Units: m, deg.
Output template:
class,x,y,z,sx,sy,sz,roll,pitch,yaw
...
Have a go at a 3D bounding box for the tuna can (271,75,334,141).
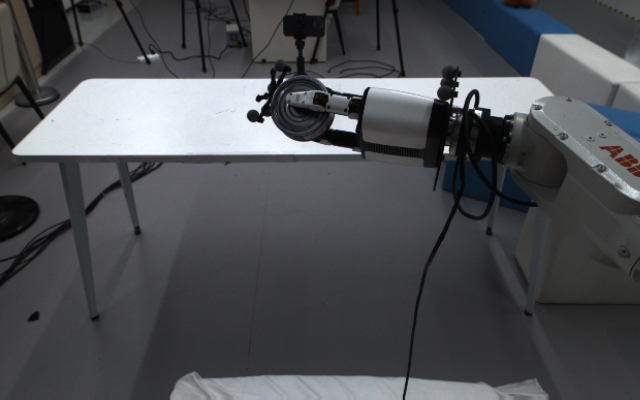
class,x,y,z,sx,sy,sz,roll,pitch,yaw
tuna can,-0.021,-0.122,0.659,0.085,0.085,0.034,9,-4,10
